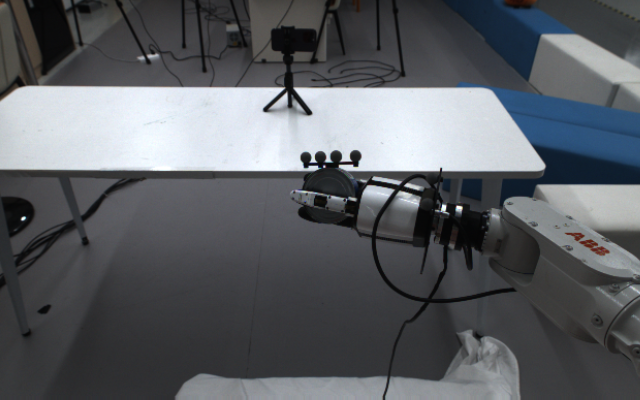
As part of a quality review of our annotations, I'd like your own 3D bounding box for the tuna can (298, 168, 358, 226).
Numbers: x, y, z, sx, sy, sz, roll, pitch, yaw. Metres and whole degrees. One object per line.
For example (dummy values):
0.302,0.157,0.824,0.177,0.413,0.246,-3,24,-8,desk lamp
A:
0.017,-0.008,0.742,0.085,0.085,0.034,15,10,18,tuna can
